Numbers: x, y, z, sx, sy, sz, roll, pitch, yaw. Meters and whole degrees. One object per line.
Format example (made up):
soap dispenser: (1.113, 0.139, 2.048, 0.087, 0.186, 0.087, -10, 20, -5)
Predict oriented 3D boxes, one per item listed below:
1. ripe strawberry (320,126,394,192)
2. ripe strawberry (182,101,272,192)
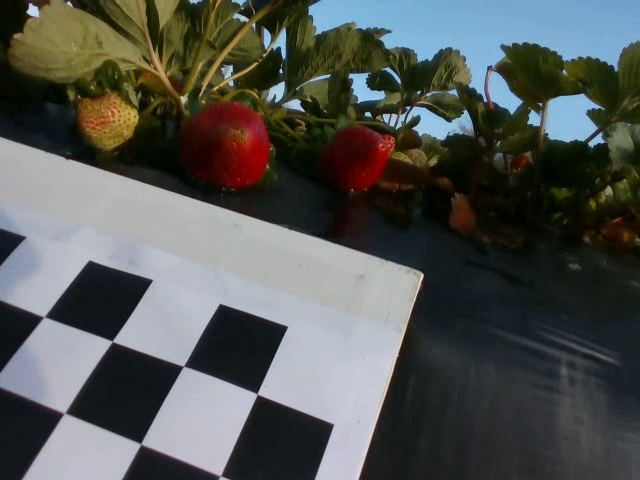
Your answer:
ripe strawberry: (0.022, -0.048, 0.349, 0.044, 0.042, 0.055, -37, 12, -26)
ripe strawberry: (-0.047, -0.052, 0.297, 0.050, 0.050, 0.065, -16, 0, -13)
